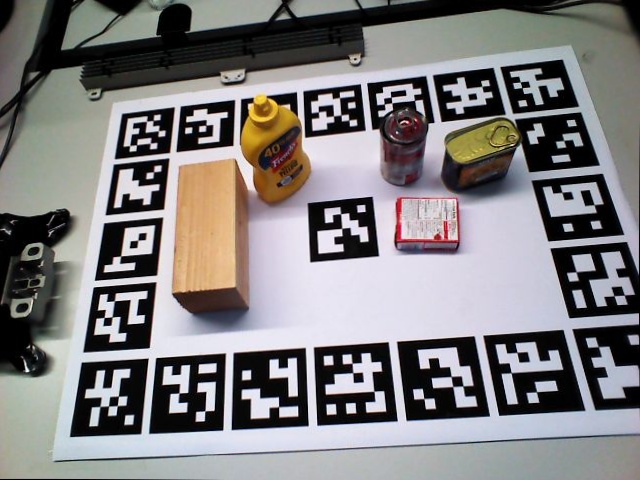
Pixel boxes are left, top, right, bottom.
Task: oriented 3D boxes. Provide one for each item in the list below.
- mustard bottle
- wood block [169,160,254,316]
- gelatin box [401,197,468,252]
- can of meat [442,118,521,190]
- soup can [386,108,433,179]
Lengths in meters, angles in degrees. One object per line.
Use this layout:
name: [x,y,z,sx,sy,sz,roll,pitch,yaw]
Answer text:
mustard bottle: [-0.066,-0.130,0.741,0.096,0.192,0.058,-28,63,-7]
wood block: [-0.152,-0.005,0.746,0.091,0.090,0.205,-5,60,5]
gelatin box: [0.162,-0.022,0.732,0.090,0.030,0.073,3,67,13]
can of meat: [0.231,-0.124,0.746,0.102,0.084,0.057,-18,63,-3]
soup can: [0.131,-0.142,0.750,0.068,0.102,0.067,-4,65,8]
